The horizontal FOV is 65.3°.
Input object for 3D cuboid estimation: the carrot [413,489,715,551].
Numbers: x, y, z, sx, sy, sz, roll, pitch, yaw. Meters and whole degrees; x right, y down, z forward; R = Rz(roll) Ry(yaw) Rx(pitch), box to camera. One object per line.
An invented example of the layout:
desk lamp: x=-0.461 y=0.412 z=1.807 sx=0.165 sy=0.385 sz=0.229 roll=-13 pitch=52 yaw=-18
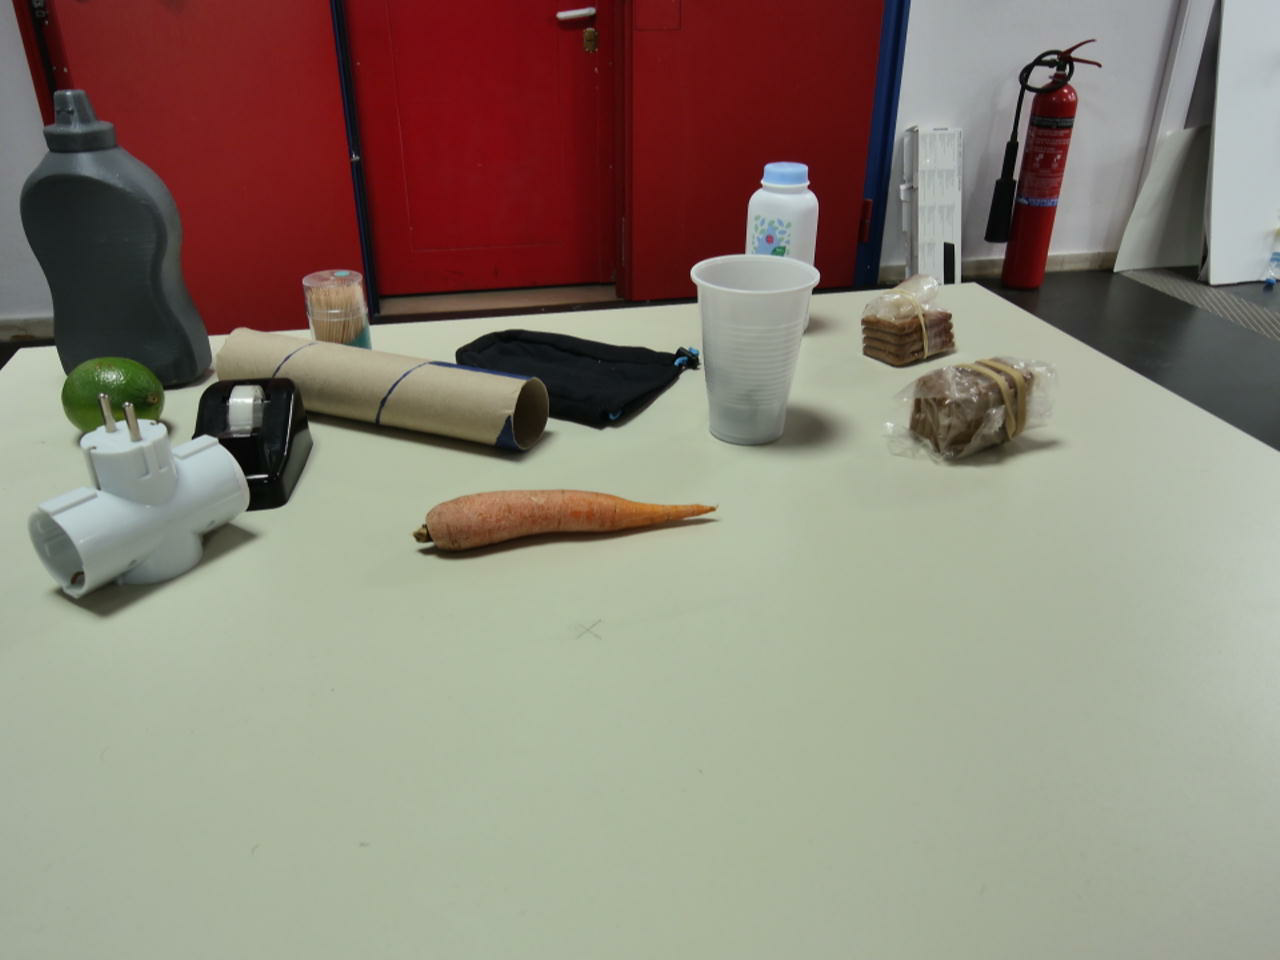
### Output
carrot: x=-0.039 y=0.017 z=0.540 sx=0.163 sy=0.029 sz=0.031 roll=-6 pitch=26 yaw=-11
